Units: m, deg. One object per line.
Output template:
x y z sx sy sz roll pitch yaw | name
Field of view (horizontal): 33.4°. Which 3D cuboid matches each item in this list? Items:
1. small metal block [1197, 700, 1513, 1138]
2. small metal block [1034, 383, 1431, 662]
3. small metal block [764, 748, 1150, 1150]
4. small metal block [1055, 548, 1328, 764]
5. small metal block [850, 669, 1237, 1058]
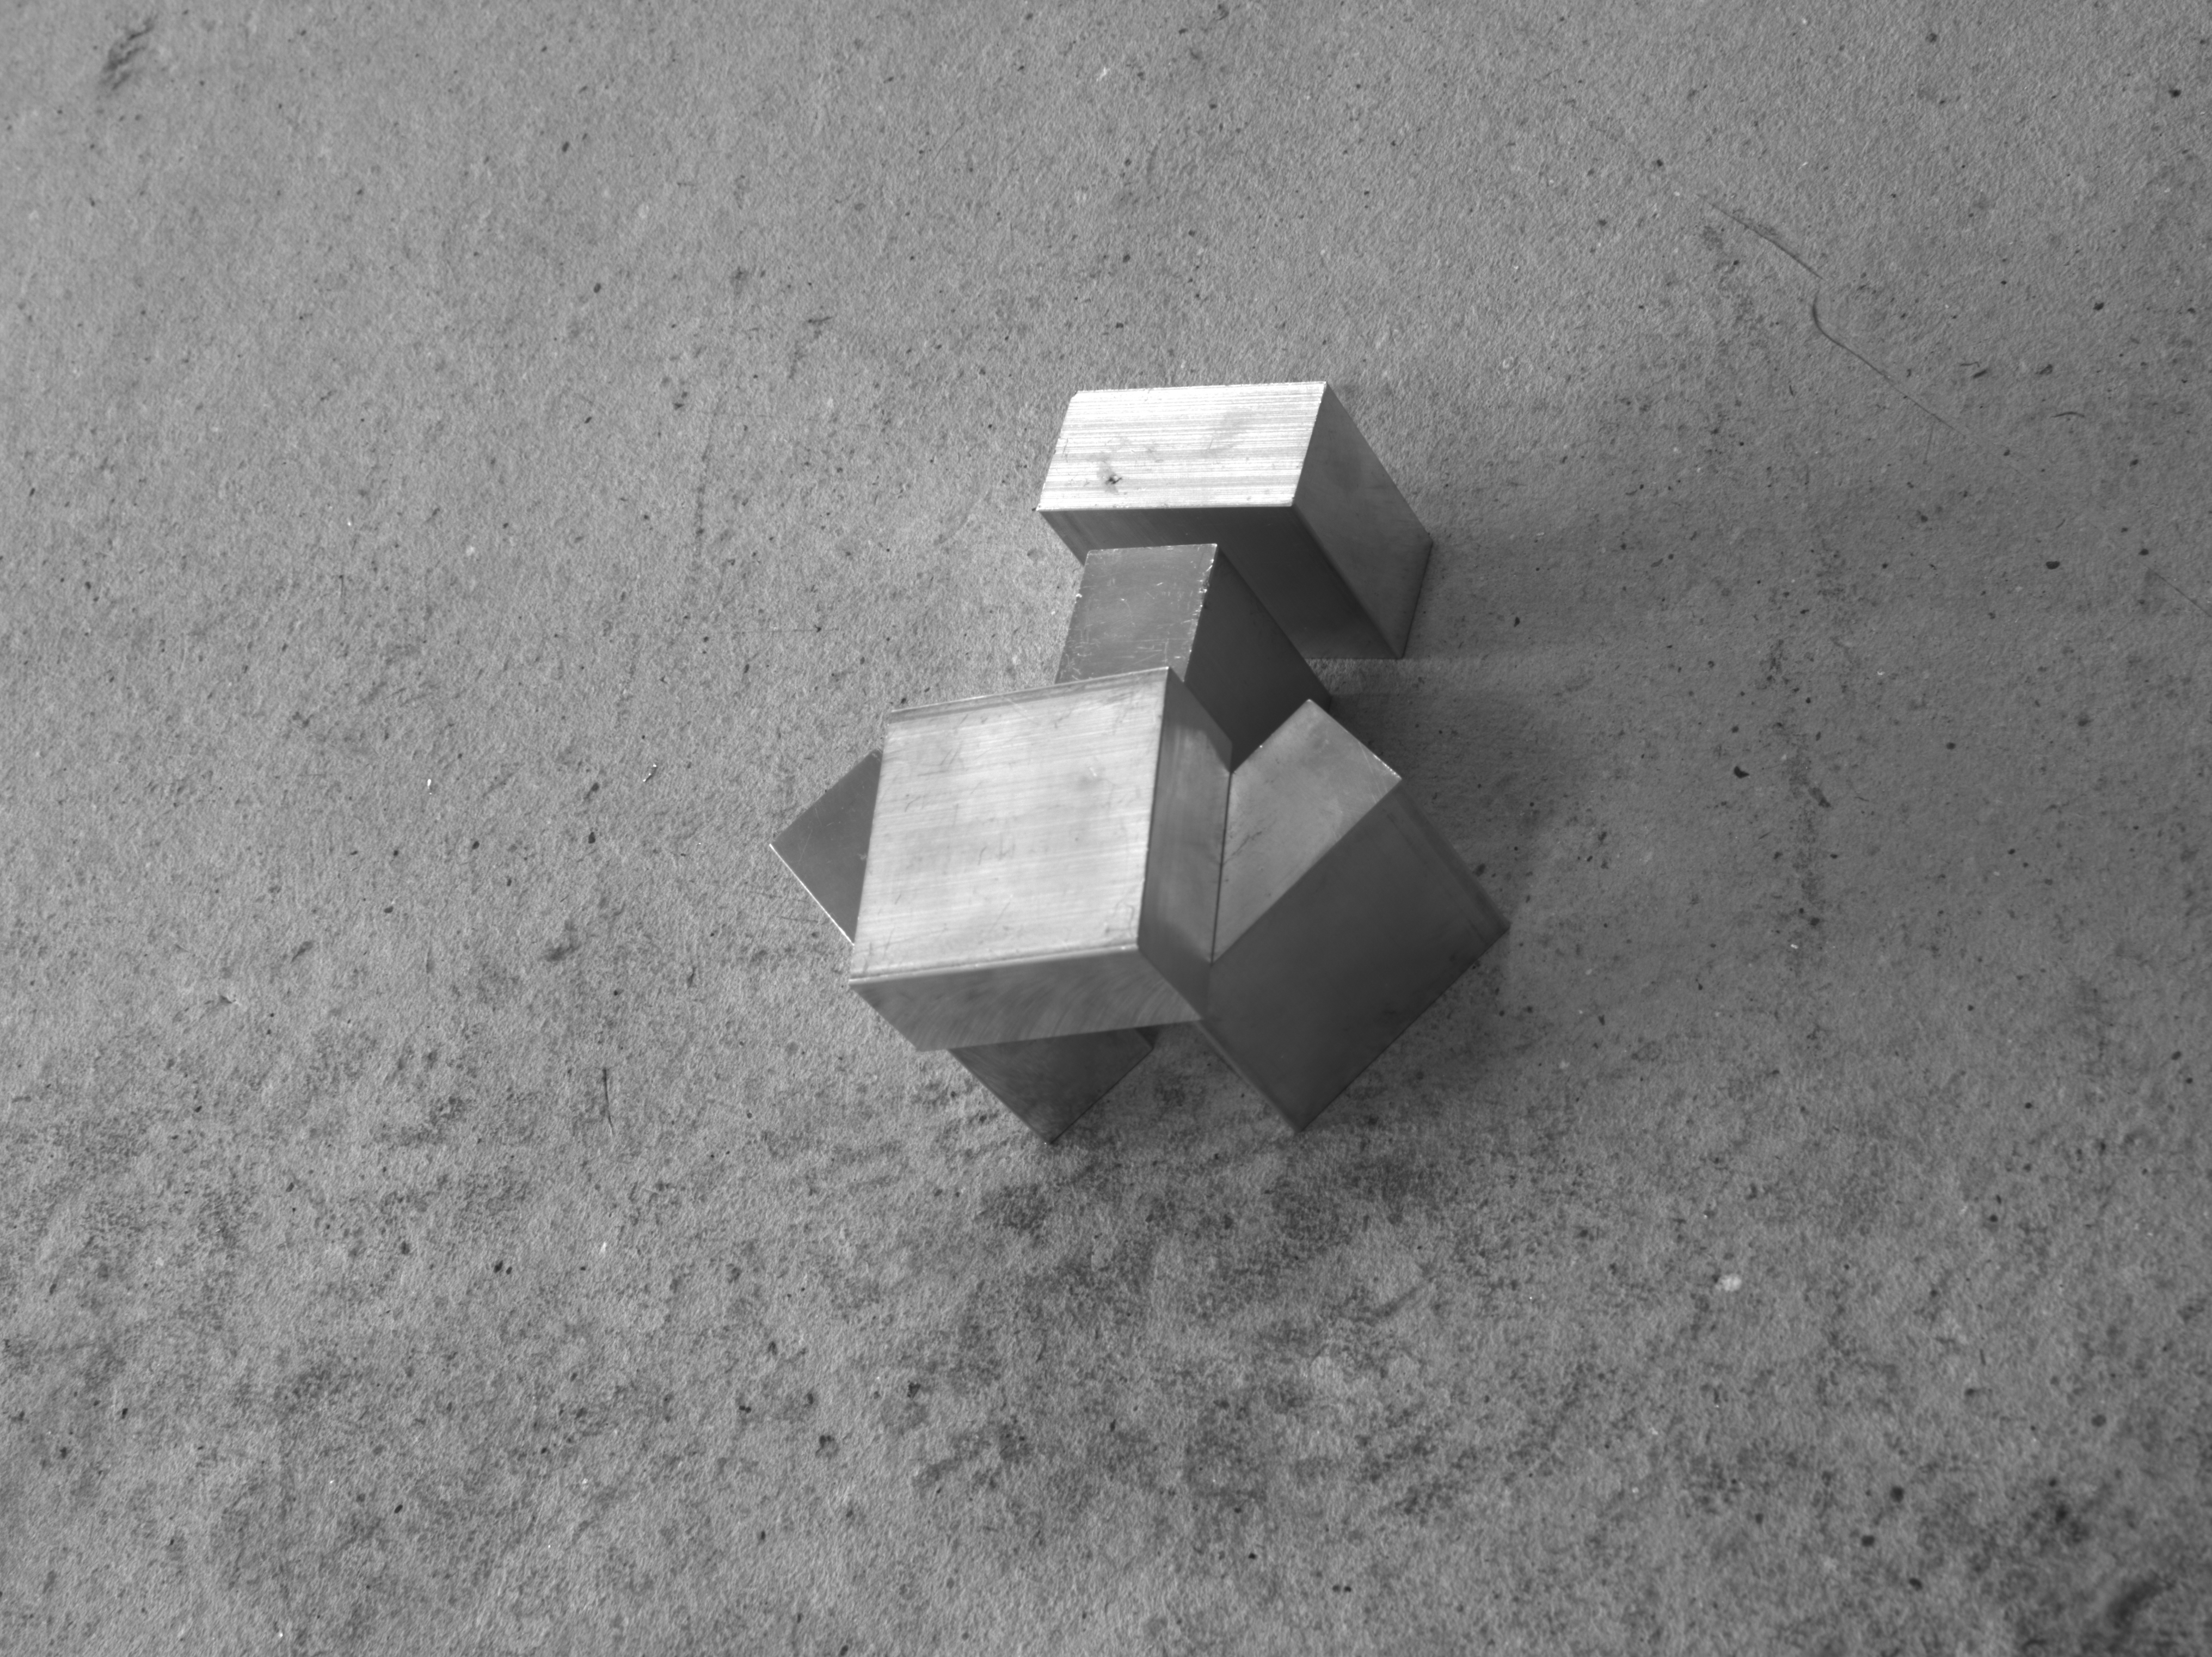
0.033 0.015 0.603 0.050 0.050 0.025 -45 51 -3 | small metal block
0.023 -0.053 0.650 0.050 0.050 0.025 2 62 29 | small metal block
-0.025 0.021 0.630 0.025 0.050 0.050 -42 52 -1 | small metal block
0.013 -0.013 0.632 0.025 0.050 0.050 0 61 28 | small metal block
-0.009 0.006 0.583 0.050 0.025 0.050 -8 57 25 | small metal block
